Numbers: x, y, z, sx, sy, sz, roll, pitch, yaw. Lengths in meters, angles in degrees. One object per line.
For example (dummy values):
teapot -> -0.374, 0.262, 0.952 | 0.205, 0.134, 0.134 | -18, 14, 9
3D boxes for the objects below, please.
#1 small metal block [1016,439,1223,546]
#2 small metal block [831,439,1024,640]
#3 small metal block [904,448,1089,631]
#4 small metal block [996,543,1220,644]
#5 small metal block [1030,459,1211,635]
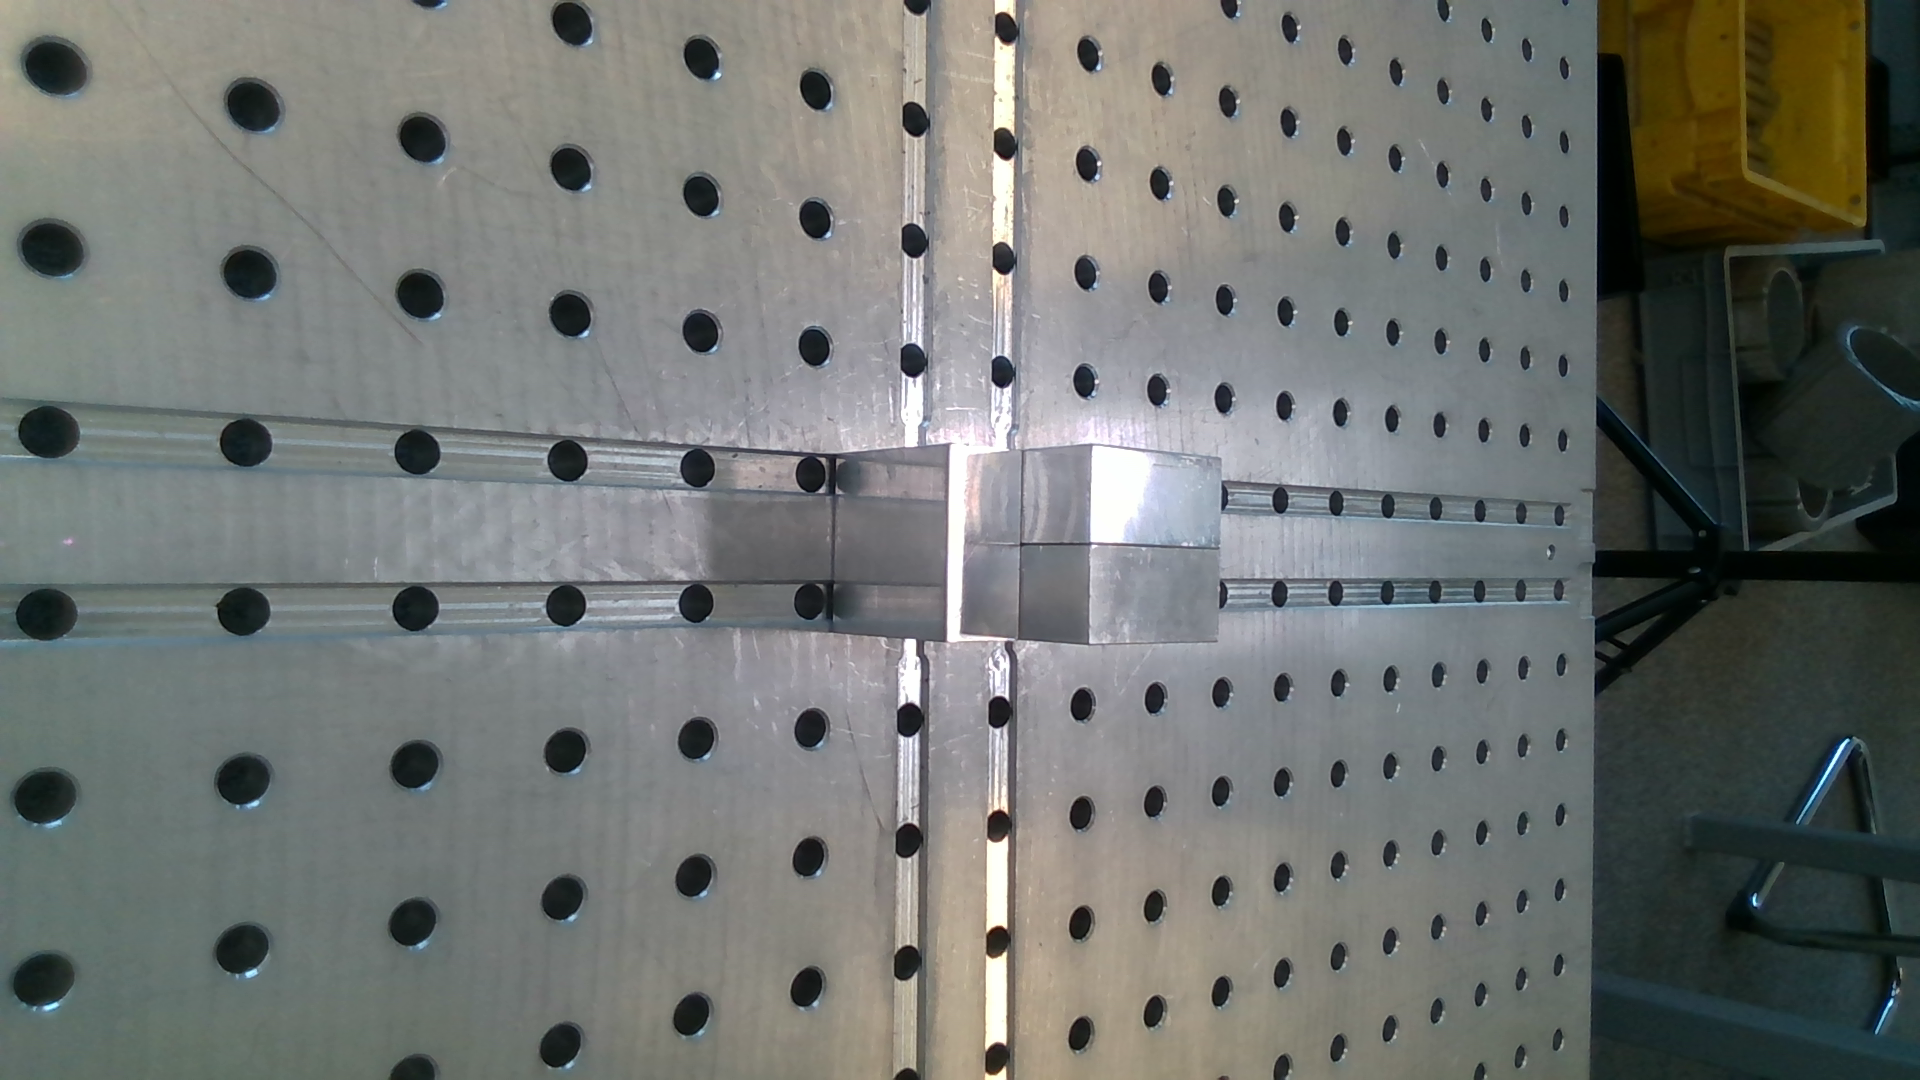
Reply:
small metal block -> 0.036, -0.012, 0.374 | 0.050, 0.050, 0.025 | 2, 89, -40
small metal block -> -0.010, 0.000, 0.369 | 0.025, 0.050, 0.050 | 2, 89, -40
small metal block -> 0.011, 0.001, 0.403 | 0.050, 0.025, 0.050 | 2, 87, -40
small metal block -> 0.035, 0.015, 0.374 | 0.050, 0.050, 0.025 | 2, 87, -40
small metal block -> 0.048, 0.002, 0.417 | 0.025, 0.050, 0.050 | 2, 88, -40
